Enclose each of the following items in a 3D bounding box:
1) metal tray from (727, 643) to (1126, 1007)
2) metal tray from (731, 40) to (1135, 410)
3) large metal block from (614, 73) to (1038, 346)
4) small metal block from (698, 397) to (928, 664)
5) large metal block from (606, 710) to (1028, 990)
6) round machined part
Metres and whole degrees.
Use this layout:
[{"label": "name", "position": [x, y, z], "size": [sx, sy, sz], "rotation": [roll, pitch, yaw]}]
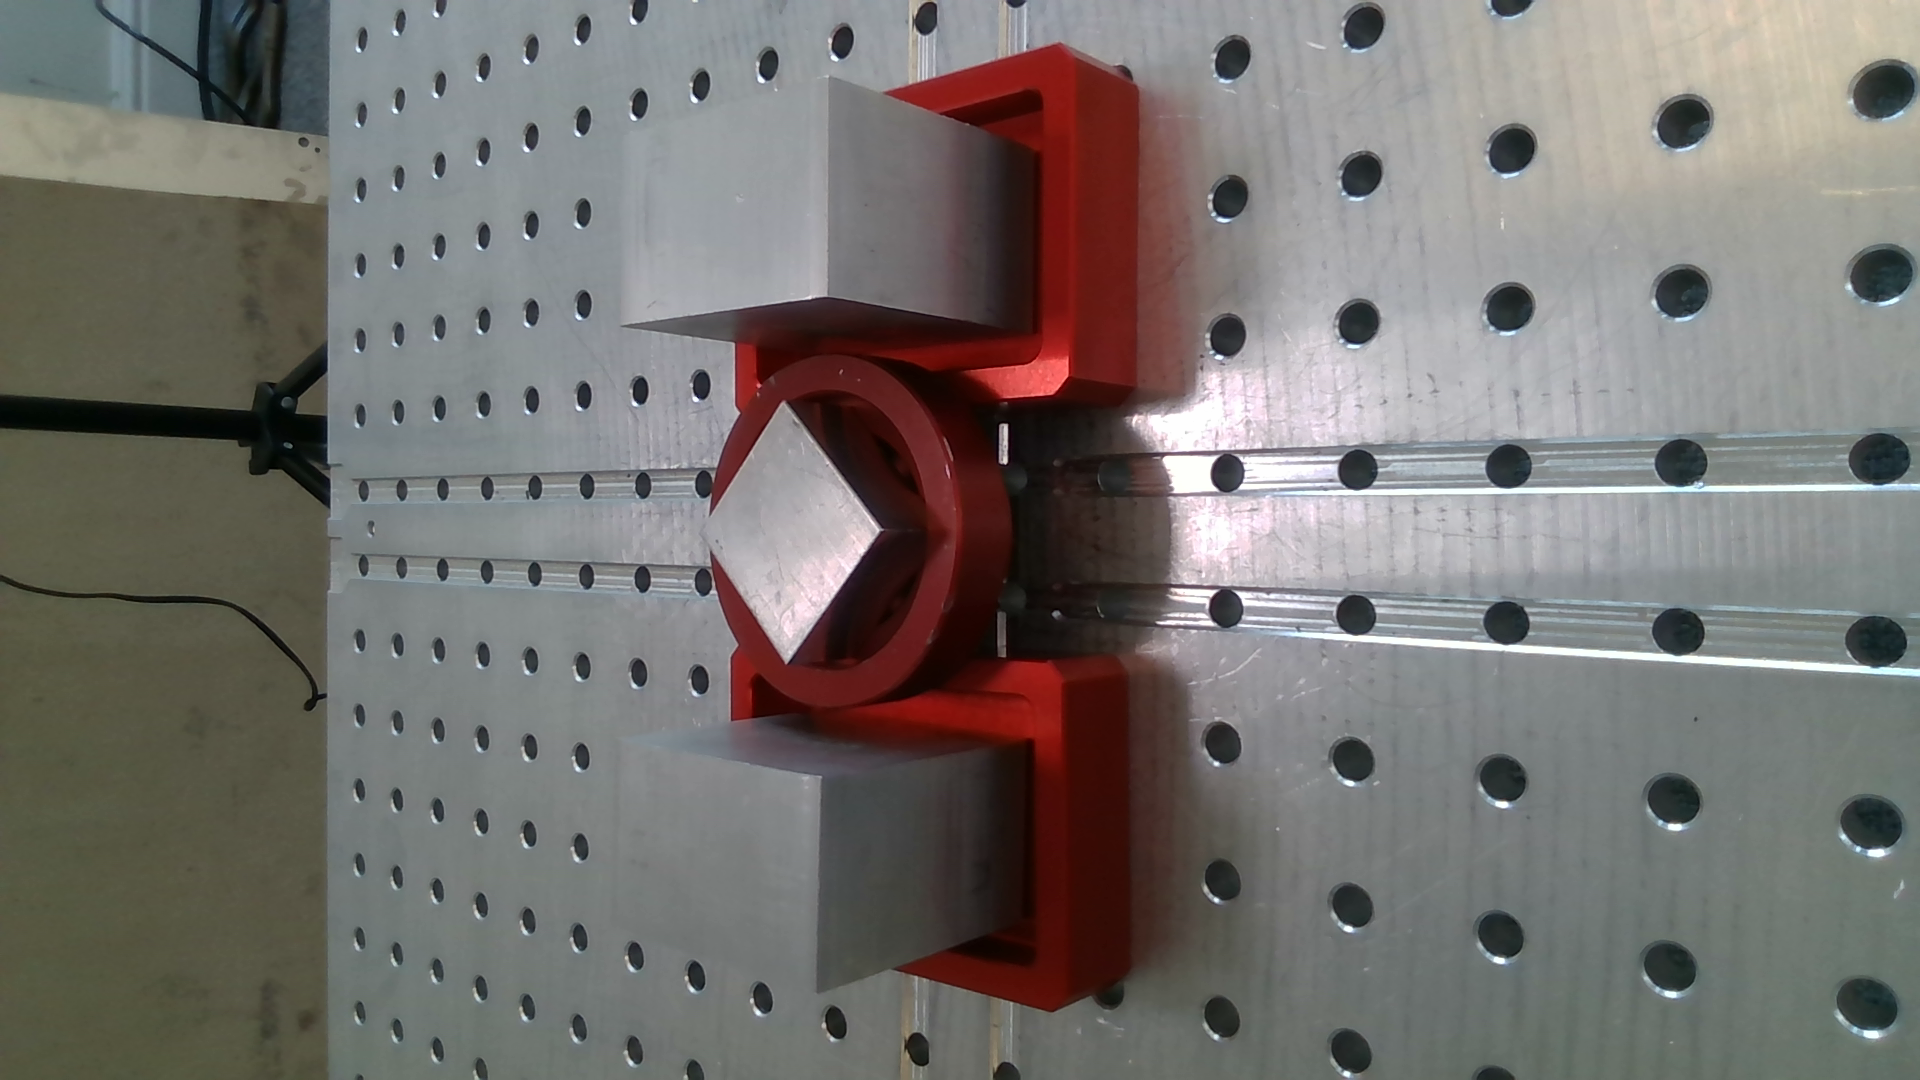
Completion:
[{"label": "metal tray", "position": [-0.014, 0.075, 0.402], "size": [0.130, 0.030, 0.090], "rotation": [0, 90, 40]}, {"label": "metal tray", "position": [-0.012, -0.083, 0.399], "size": [0.130, 0.030, 0.090], "rotation": [1, 91, 40]}, {"label": "large metal block", "position": [-0.035, -0.082, 0.370], "size": [0.080, 0.080, 0.050], "rotation": [1, 91, 40]}, {"label": "small metal block", "position": [-0.039, -0.002, 0.373], "size": [0.050, 0.025, 0.050], "rotation": [52, 121, 27]}, {"label": "large metal block", "position": [-0.038, 0.078, 0.373], "size": [0.080, 0.080, 0.050], "rotation": [2, 91, 40]}, {"label": "round machined part", "position": [-0.024, -0.003, 0.392], "size": [0.098, 0.042, 0.098], "rotation": [0, 91, 40]}]
